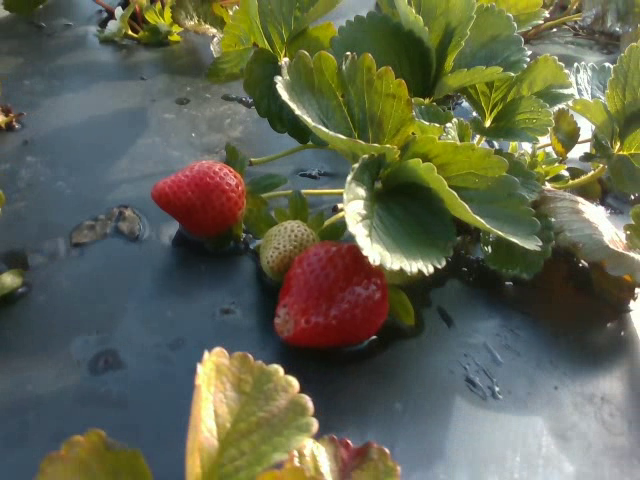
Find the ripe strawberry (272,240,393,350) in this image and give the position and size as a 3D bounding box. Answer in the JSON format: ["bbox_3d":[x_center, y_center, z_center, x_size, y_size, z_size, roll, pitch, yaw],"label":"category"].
[{"bbox_3d":[0.000,0.025,0.257,0.048,0.050,0.064,-17,21,50],"label":"ripe strawberry"}]
